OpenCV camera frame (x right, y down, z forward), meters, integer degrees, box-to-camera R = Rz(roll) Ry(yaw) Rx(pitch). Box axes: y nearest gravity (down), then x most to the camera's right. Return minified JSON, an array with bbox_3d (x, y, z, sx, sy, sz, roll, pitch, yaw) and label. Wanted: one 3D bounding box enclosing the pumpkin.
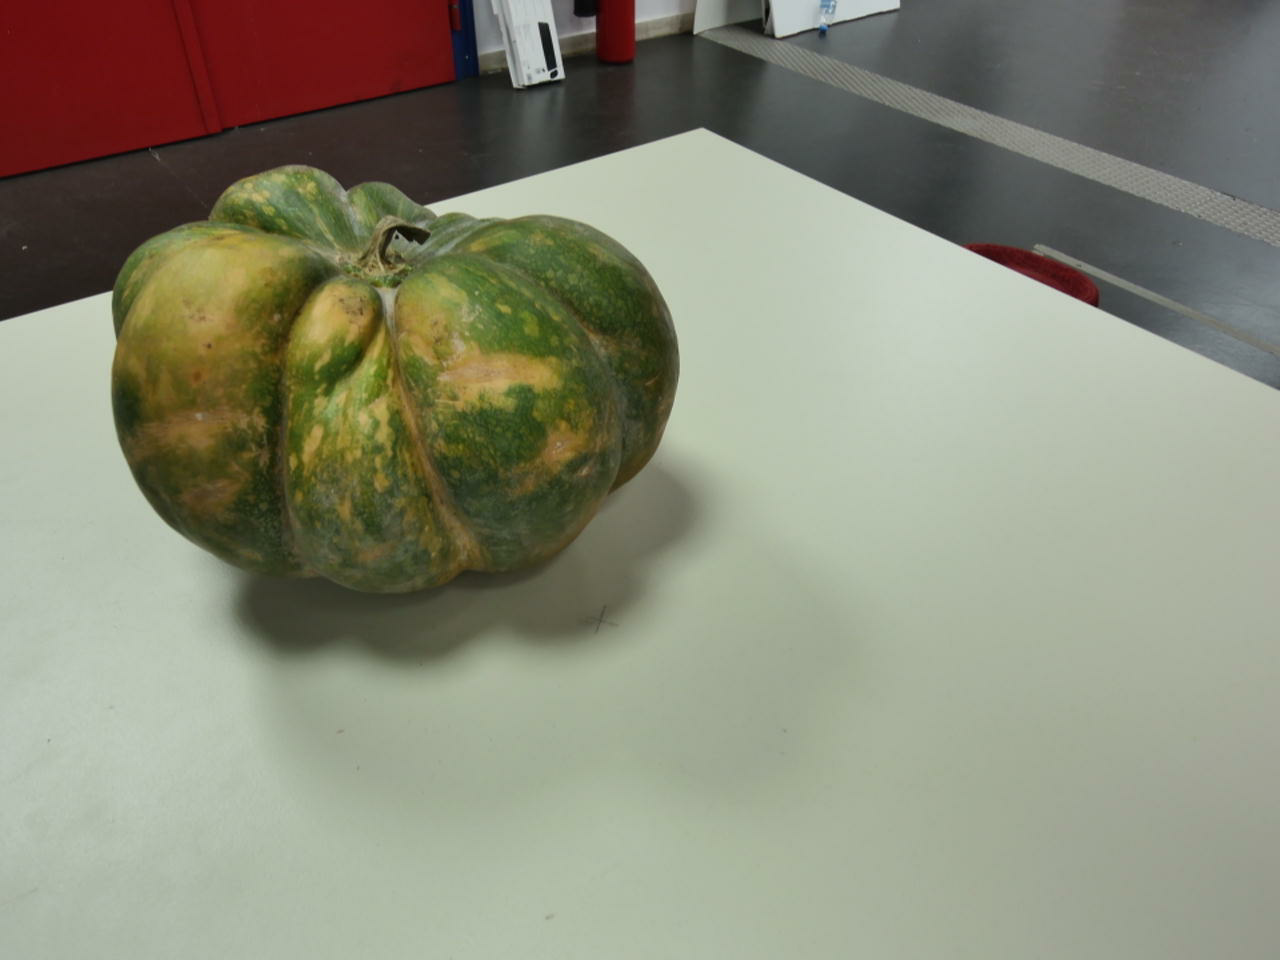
[{"bbox_3d":[-0.118,-0.056,0.477,0.270,0.173,0.237,0,38,-1],"label":"pumpkin"}]
